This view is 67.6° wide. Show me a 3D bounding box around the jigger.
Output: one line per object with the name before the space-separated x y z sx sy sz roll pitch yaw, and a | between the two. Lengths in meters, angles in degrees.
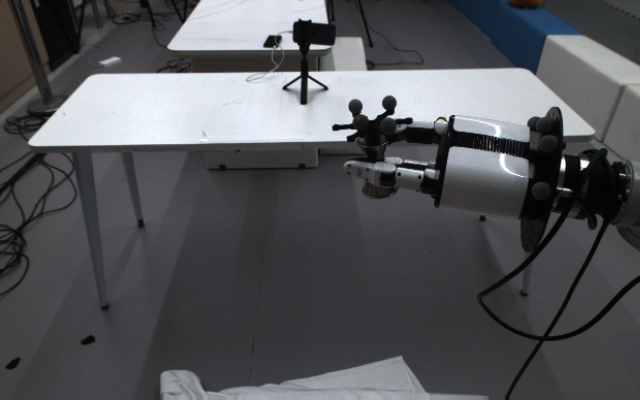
jigger | 0.068 -0.043 0.572 0.043 0.071 0.043 -9 31 5
